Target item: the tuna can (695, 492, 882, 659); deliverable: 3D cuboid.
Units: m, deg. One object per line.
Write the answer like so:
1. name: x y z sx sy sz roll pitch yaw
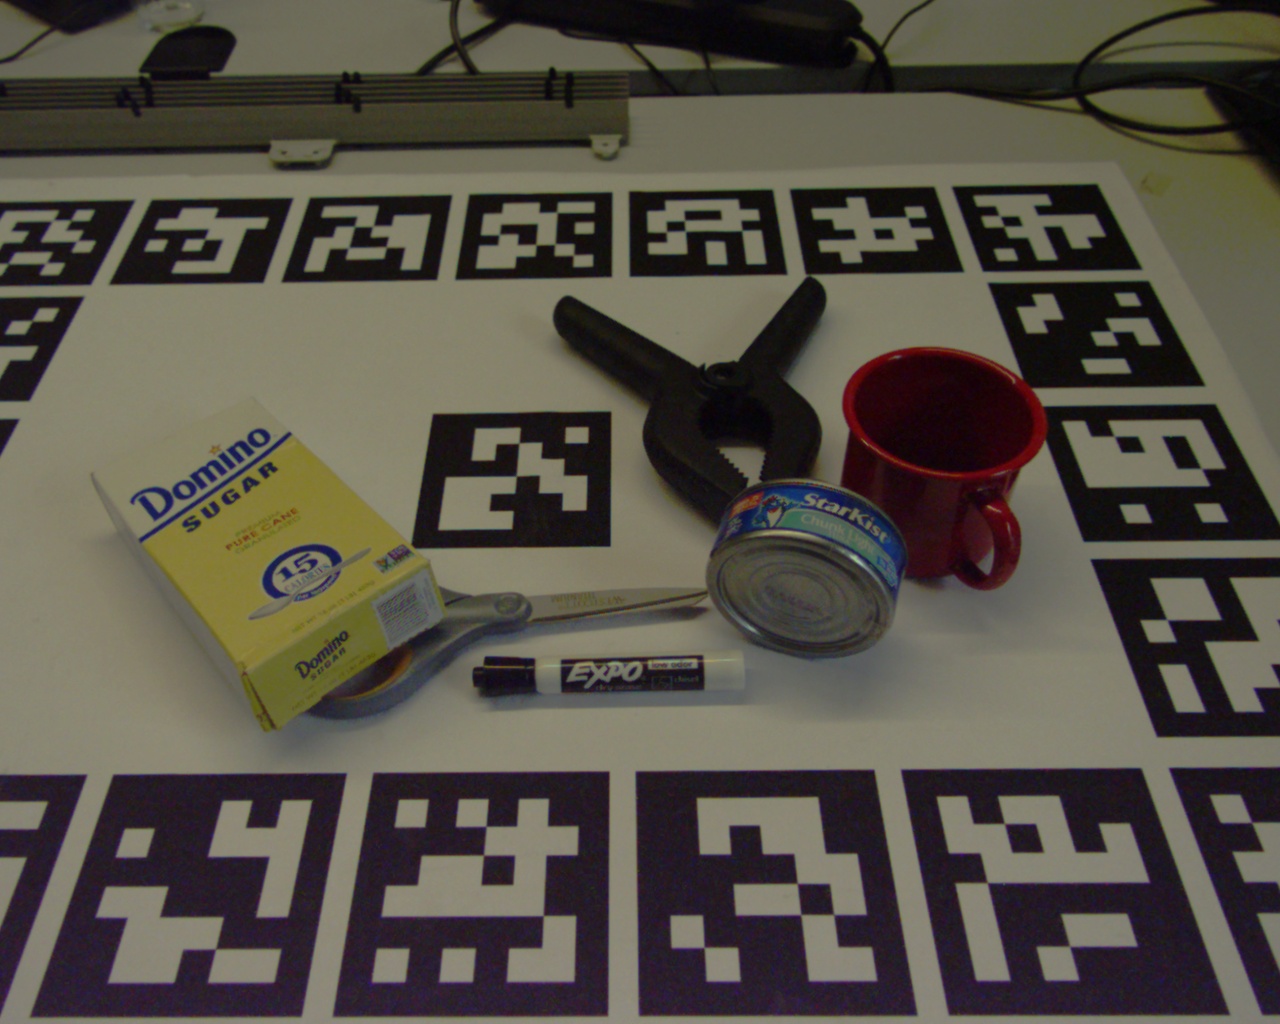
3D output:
1. tuna can: 0.070 0.032 0.543 0.086 0.085 0.033 13 49 11

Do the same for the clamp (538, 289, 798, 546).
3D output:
1. clamp: 0.035 -0.053 0.666 0.165 0.036 0.204 -9 50 -7

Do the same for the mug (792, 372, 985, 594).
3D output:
1. mug: 0.128 -0.005 0.582 0.092 0.081 0.118 -22 48 -18

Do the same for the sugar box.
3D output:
1. sugar box: -0.185 0.022 0.576 0.092 0.045 0.179 -30 49 -24

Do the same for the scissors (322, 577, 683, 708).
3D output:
1. scissors: -0.078 0.049 0.572 0.202 0.016 0.088 -8 45 -8

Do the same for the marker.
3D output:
1. marker: -0.032 0.081 0.546 0.121 0.019 0.020 -4 49 -2
